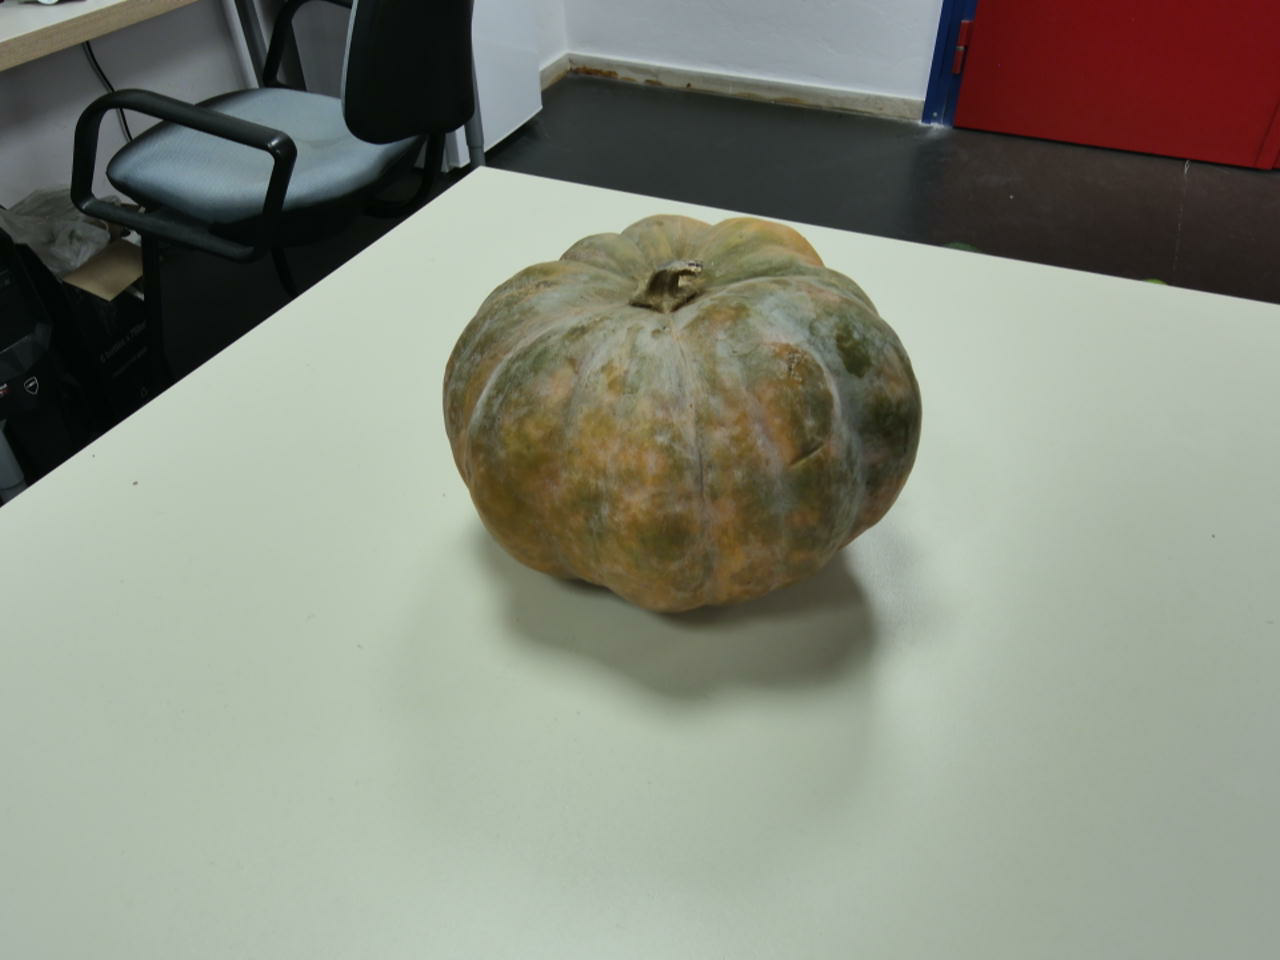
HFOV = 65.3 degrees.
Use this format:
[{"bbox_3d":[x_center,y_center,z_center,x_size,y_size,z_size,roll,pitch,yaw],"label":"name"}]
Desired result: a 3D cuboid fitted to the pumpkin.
[{"bbox_3d":[0.017,-0.042,0.533,0.252,0.169,0.251,0,38,0],"label":"pumpkin"}]
